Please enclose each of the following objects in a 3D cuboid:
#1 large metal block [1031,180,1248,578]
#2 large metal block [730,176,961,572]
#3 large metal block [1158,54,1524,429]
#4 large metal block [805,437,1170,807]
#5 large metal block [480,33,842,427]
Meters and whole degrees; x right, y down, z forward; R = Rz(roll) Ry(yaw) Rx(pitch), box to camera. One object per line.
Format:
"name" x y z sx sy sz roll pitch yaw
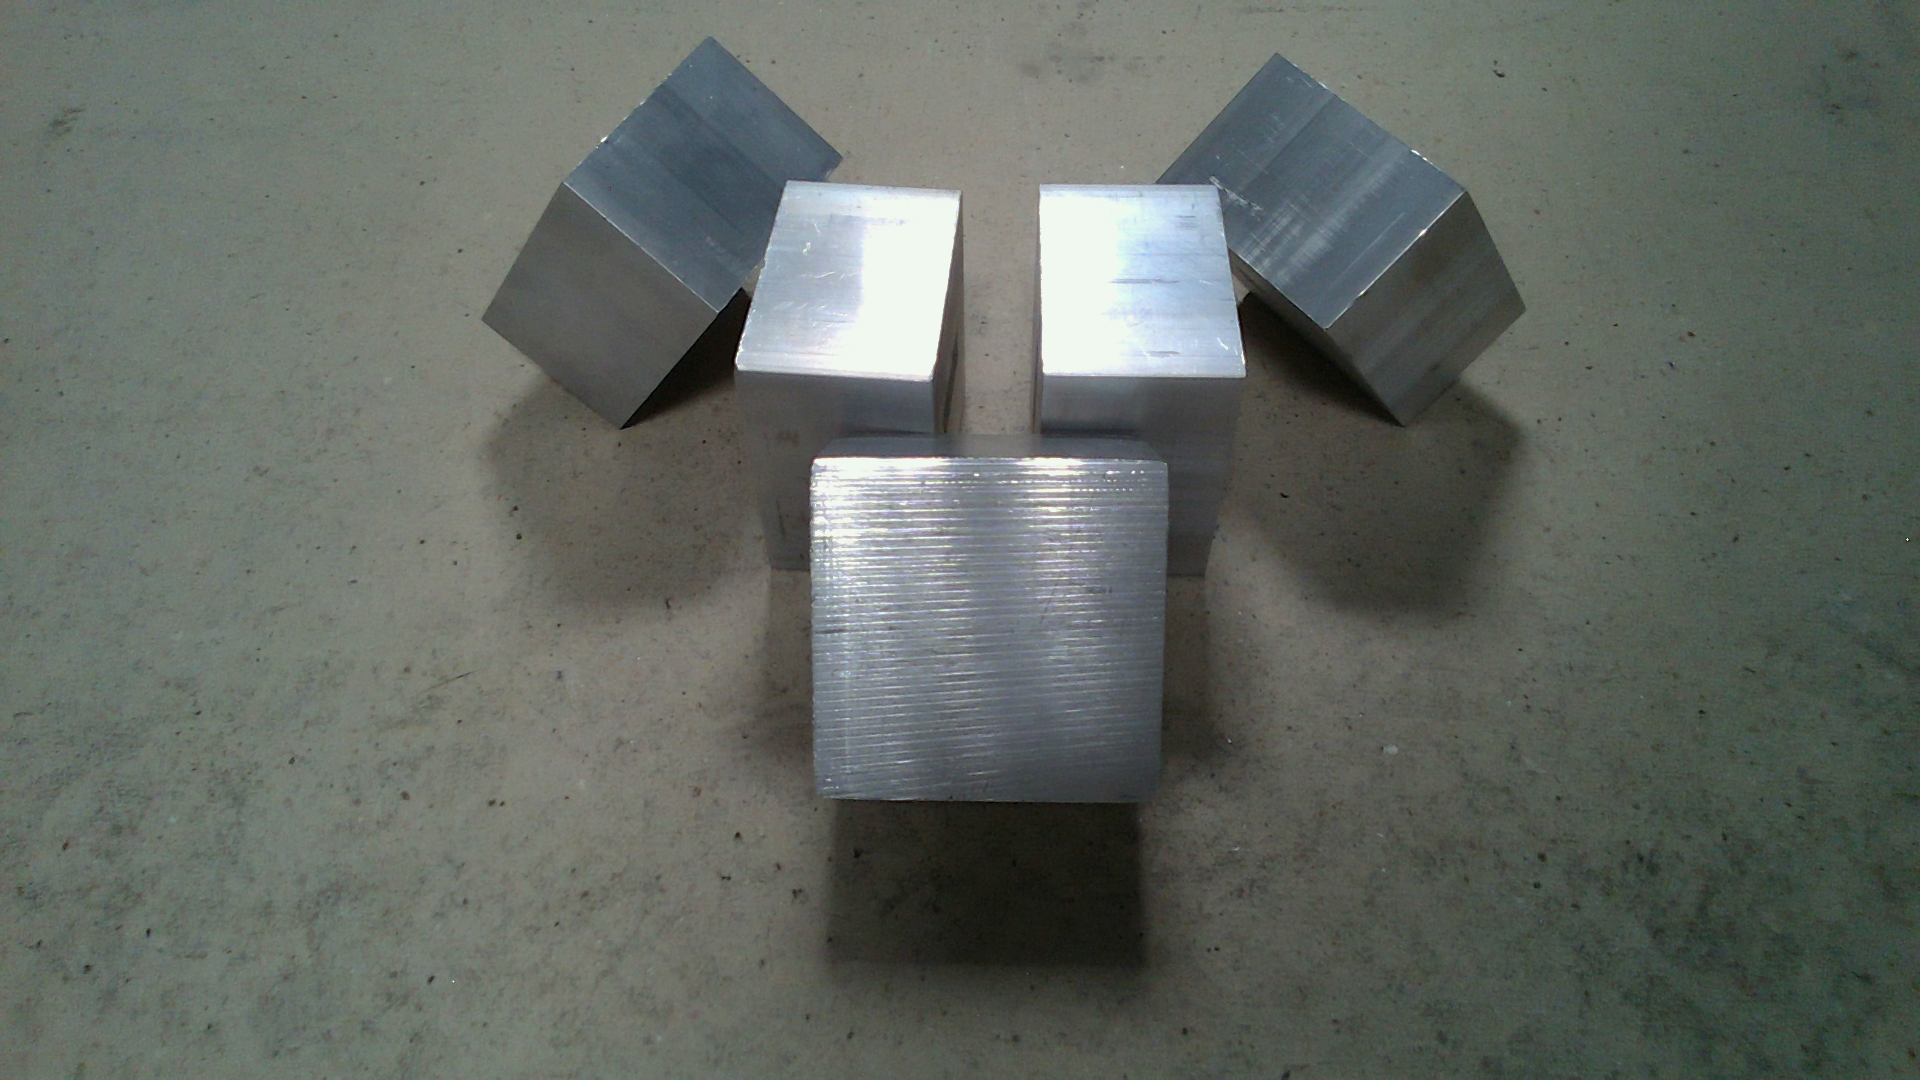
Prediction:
"large metal block" 0.047 -0.046 0.394 0.050 0.080 0.080 1 50 1
"large metal block" -0.028 -0.046 0.395 0.050 0.080 0.080 4 50 3
"large metal block" 0.117 -0.090 0.423 0.050 0.080 0.080 -46 55 12
"large metal block" 0.006 0.017 0.334 0.080 0.080 0.050 1 11 1
"large metal block" -0.092 -0.093 0.423 0.050 0.080 0.080 39 52 -14
